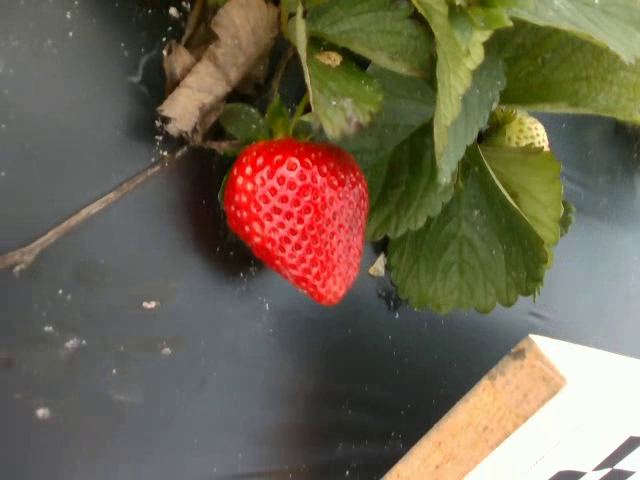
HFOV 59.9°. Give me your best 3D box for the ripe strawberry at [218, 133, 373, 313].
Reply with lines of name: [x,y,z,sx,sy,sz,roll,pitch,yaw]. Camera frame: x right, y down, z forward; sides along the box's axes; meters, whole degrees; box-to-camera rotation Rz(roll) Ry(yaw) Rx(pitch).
ripe strawberry: [-0.003,-0.005,0.122,0.037,0.046,0.037,-17,-6,-5]
